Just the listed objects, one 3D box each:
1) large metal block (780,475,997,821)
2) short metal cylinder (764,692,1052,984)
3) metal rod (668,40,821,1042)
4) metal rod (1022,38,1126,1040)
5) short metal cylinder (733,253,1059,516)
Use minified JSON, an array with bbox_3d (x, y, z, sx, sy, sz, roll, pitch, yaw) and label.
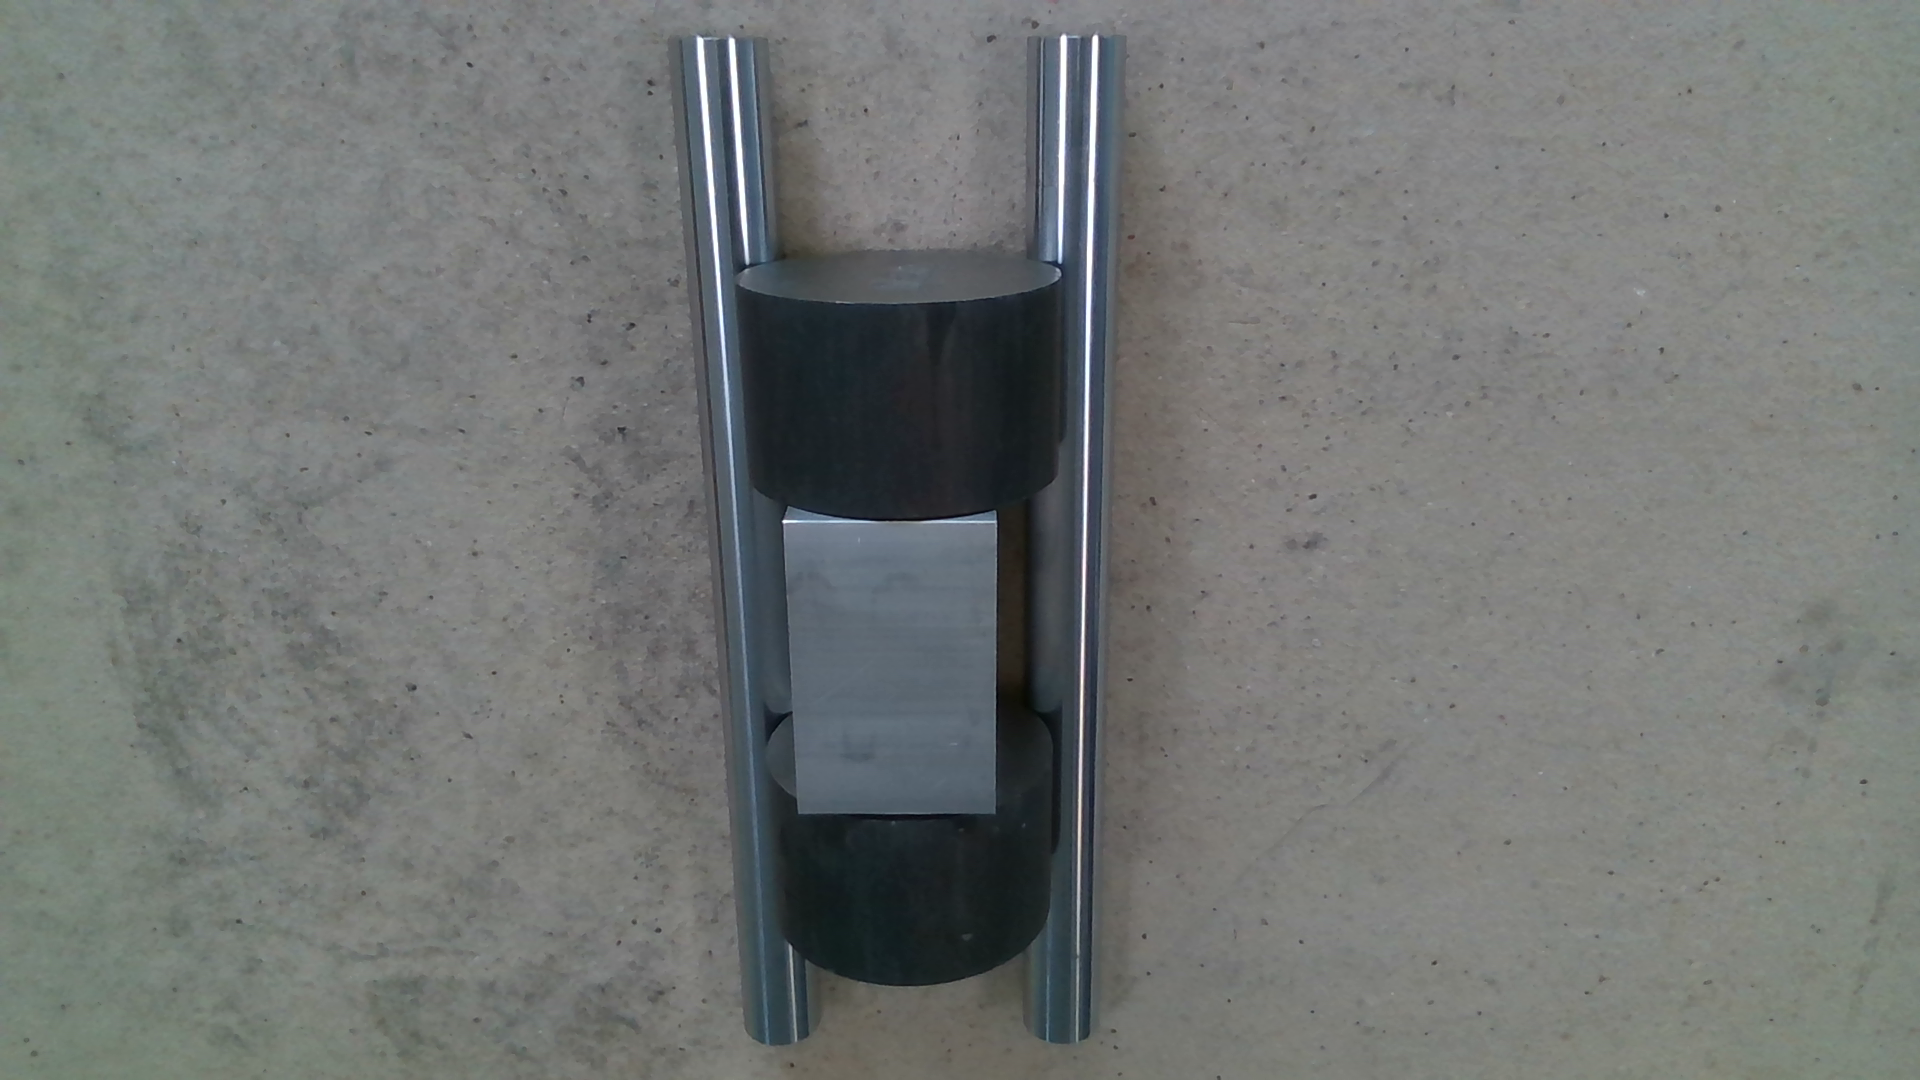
[{"bbox_3d":[-0.016,0.019,0.369,0.050,0.080,0.080,0,110,0],"label":"large metal block"},{"bbox_3d":[-0.014,0.081,0.393,0.080,0.080,0.050,-1,110,0],"label":"short metal cylinder"},{"bbox_3d":[-0.059,0.015,0.399,0.025,0.025,0.301,-1,110,0],"label":"metal rod"},{"bbox_3d":[0.031,0.014,0.399,0.025,0.025,0.301,-1,110,0],"label":"metal rod"},{"bbox_3d":[-0.015,-0.043,0.348,0.080,0.080,0.050,-1,110,0],"label":"short metal cylinder"}]
